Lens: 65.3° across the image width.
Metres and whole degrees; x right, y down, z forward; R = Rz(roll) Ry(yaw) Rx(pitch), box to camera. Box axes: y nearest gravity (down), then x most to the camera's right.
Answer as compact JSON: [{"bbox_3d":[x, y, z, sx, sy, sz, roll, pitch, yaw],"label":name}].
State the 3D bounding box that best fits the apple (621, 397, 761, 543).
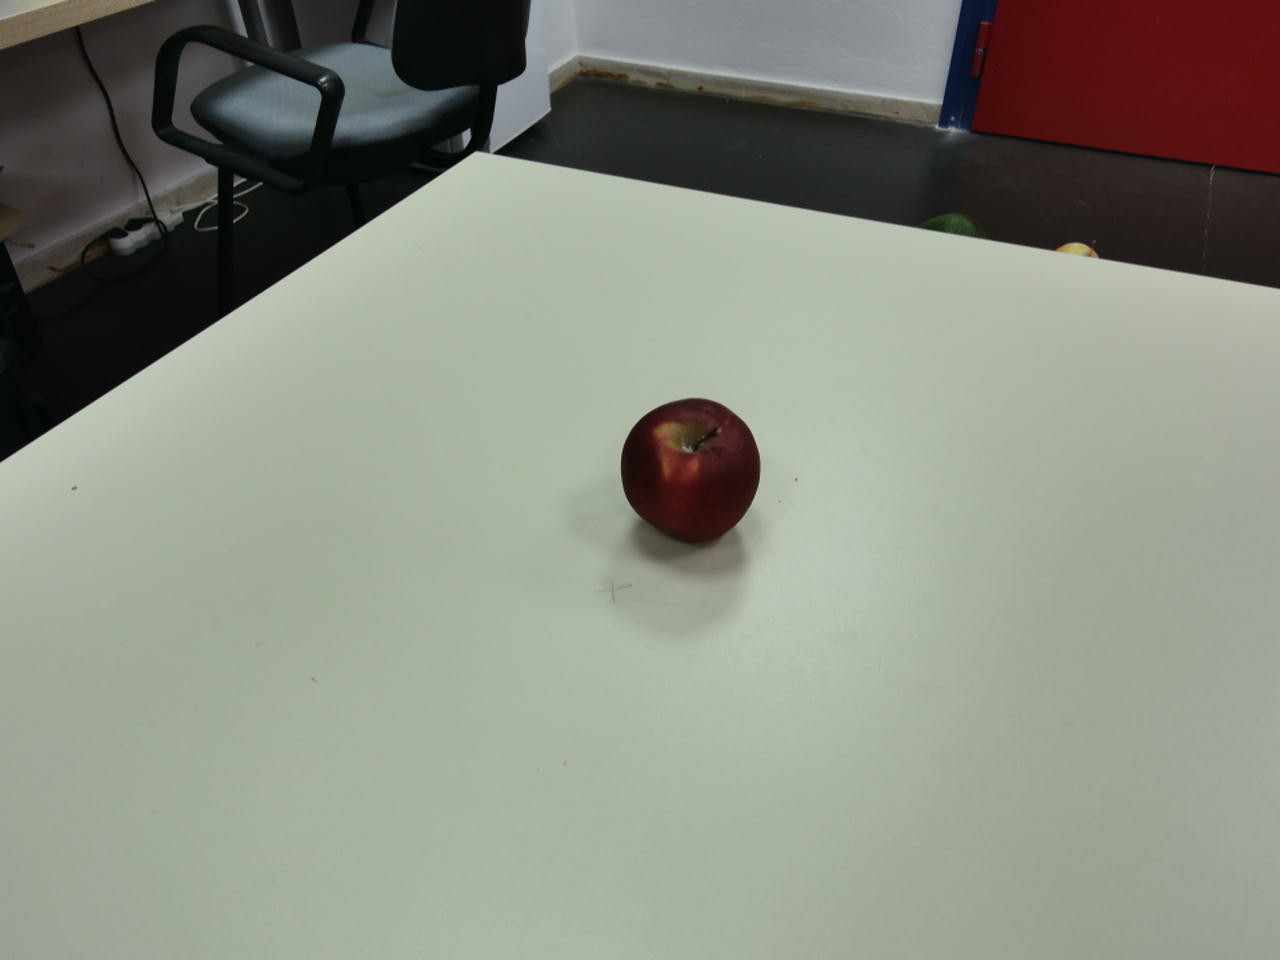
[{"bbox_3d":[0.025,-0.004,0.492,0.070,0.072,0.070,0,38,0],"label":"apple"}]
